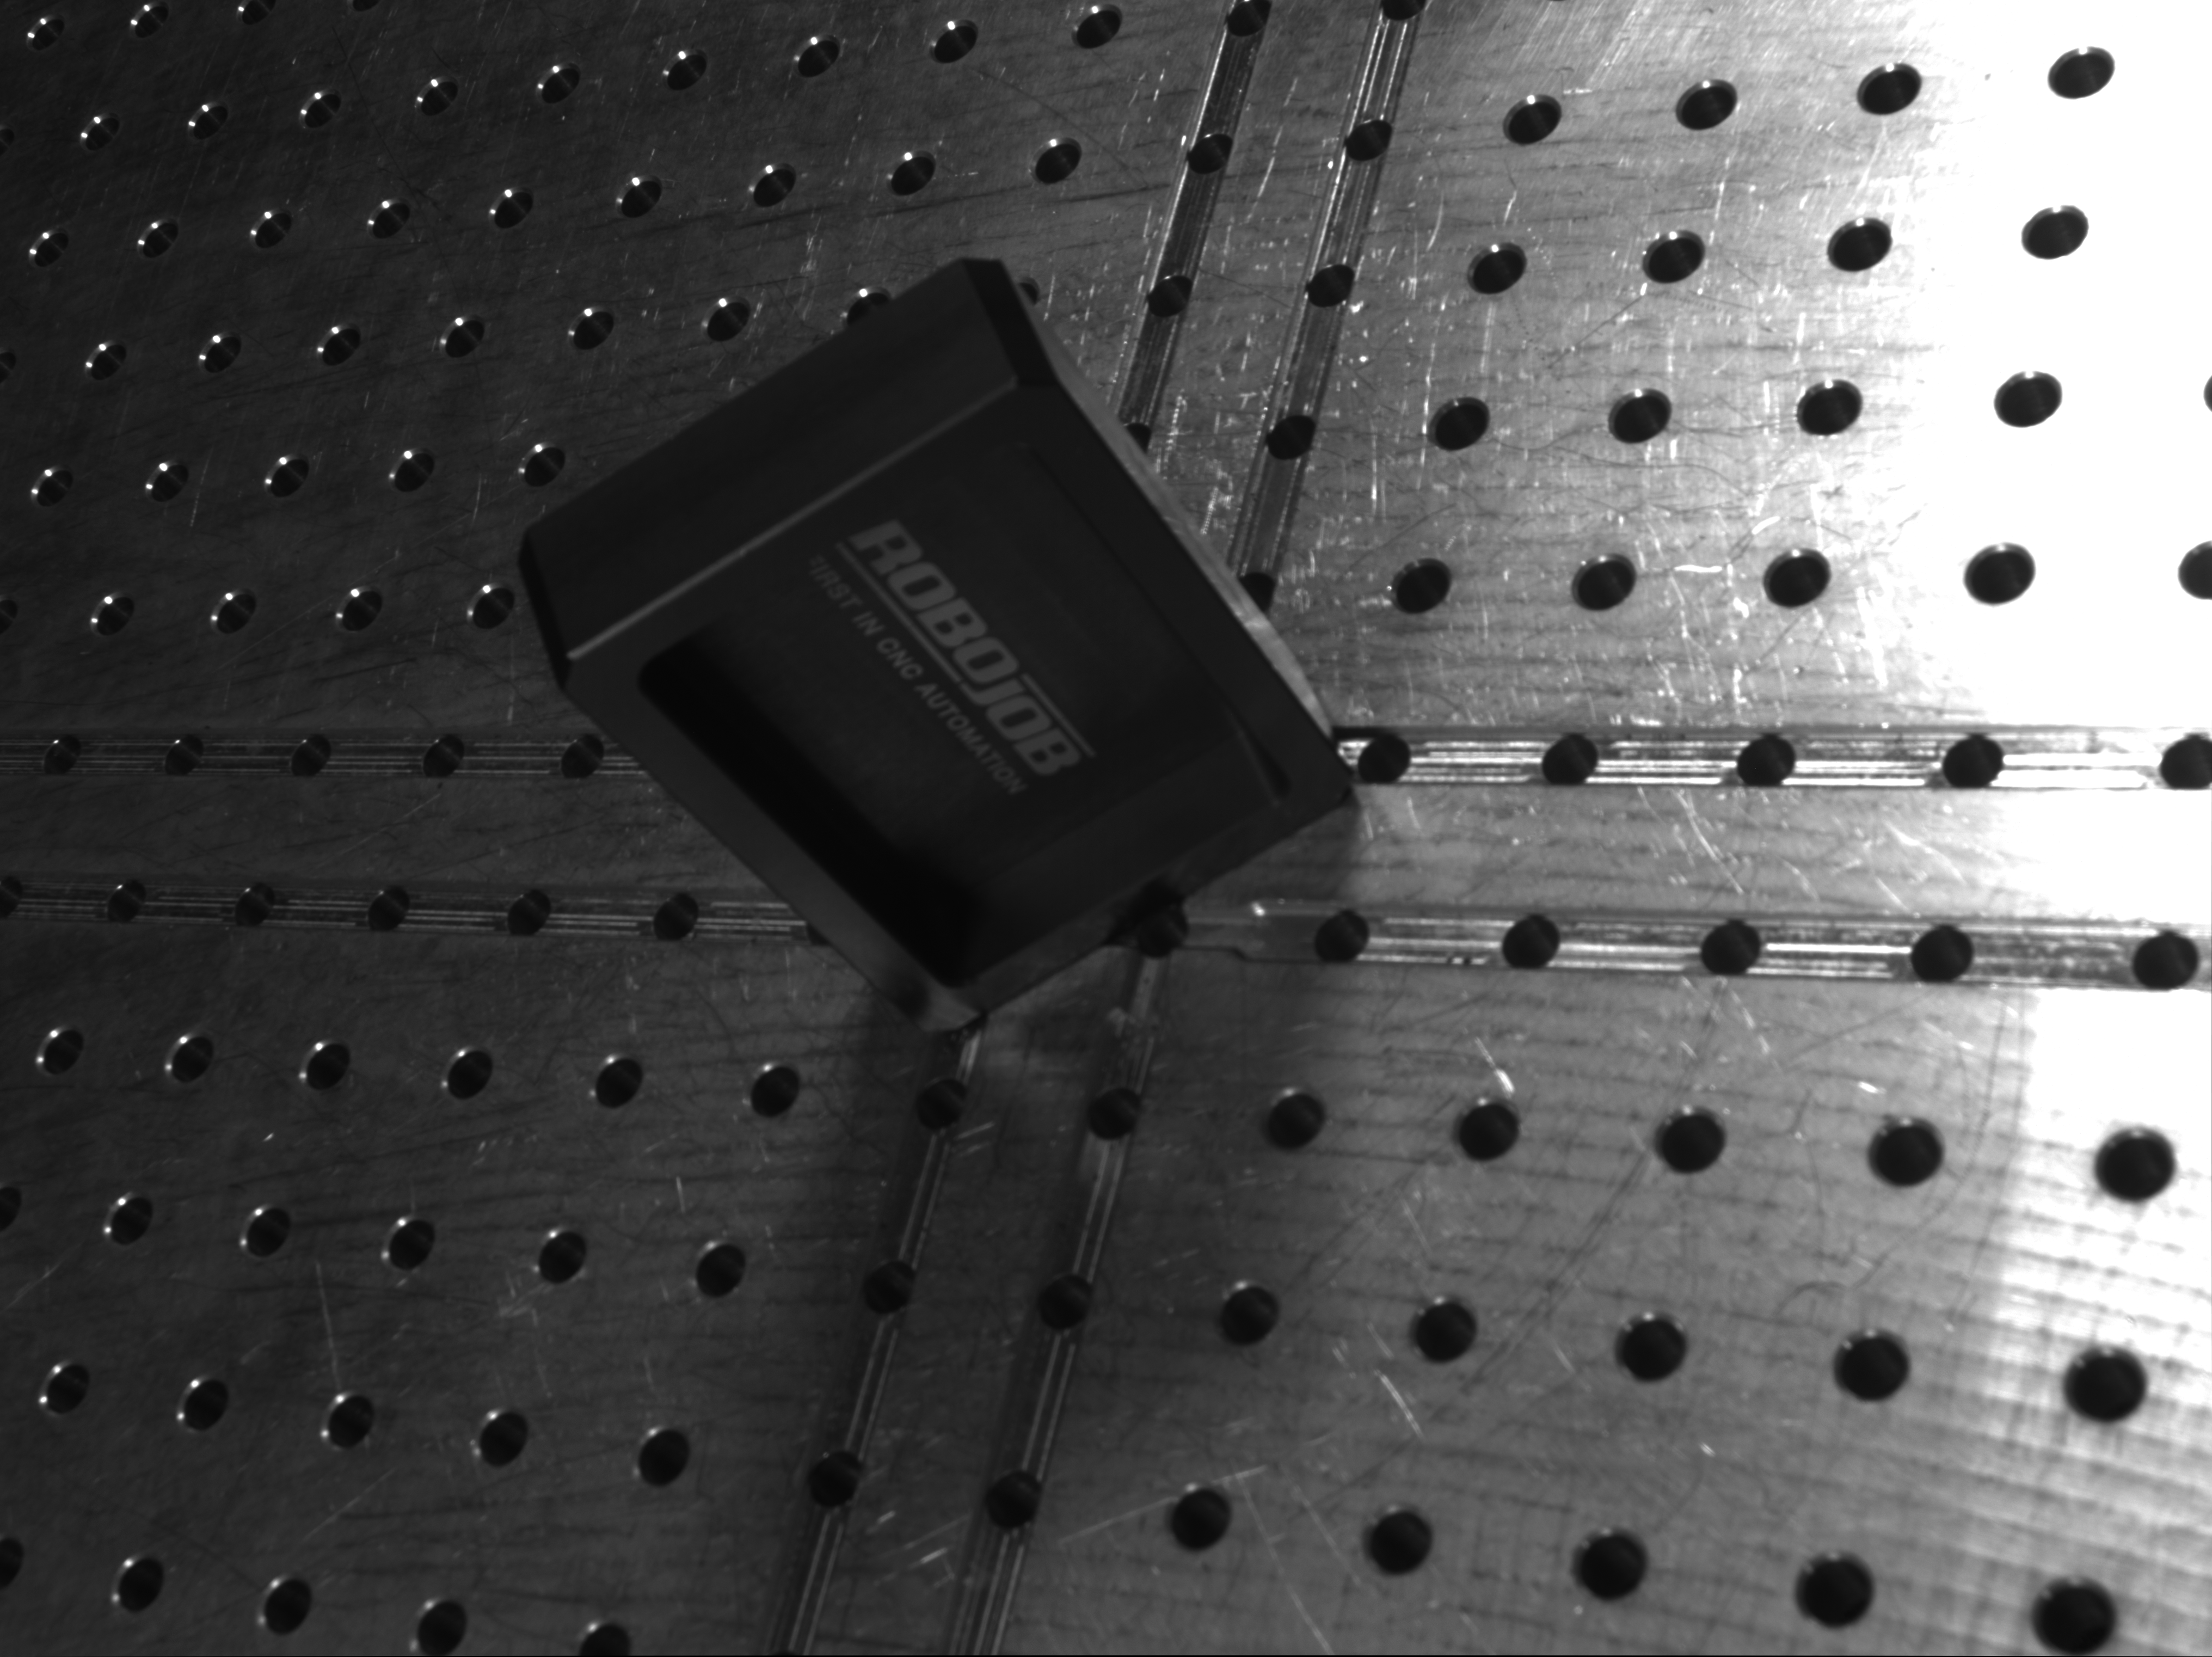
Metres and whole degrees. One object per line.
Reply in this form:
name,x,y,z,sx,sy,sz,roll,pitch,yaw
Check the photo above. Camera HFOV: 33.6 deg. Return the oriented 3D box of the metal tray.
metal tray,-0.023,-0.026,0.607,0.090,0.130,0.030,-31,51,8
